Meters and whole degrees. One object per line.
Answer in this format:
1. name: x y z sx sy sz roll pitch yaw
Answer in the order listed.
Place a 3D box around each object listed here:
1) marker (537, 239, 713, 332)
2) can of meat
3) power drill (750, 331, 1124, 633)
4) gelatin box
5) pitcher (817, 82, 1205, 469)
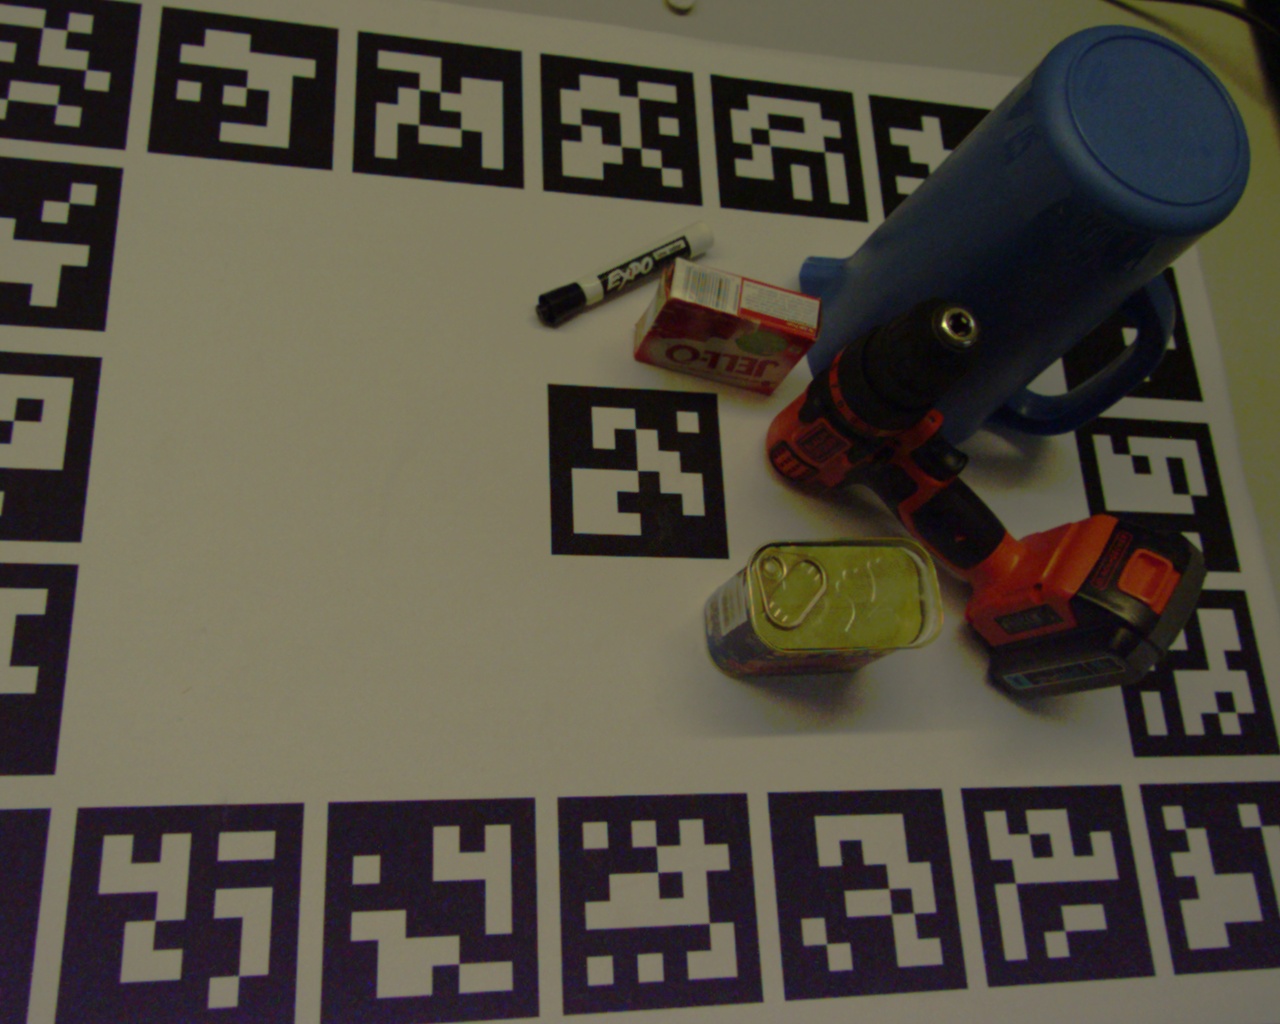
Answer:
1. marker: -0.009 -0.140 0.706 0.120 0.020 0.020 -26 82 -19
2. can of meat: 0.090 0.061 0.631 0.101 0.084 0.058 0 71 -15
3. power drill: 0.163 -0.013 0.622 0.186 0.186 0.057 37 70 -7
4. gelatin box: 0.052 -0.094 0.680 0.089 0.074 0.030 12 74 -12
5. pitcher: 0.210 -0.117 0.642 0.189 0.243 0.133 31 71 3
